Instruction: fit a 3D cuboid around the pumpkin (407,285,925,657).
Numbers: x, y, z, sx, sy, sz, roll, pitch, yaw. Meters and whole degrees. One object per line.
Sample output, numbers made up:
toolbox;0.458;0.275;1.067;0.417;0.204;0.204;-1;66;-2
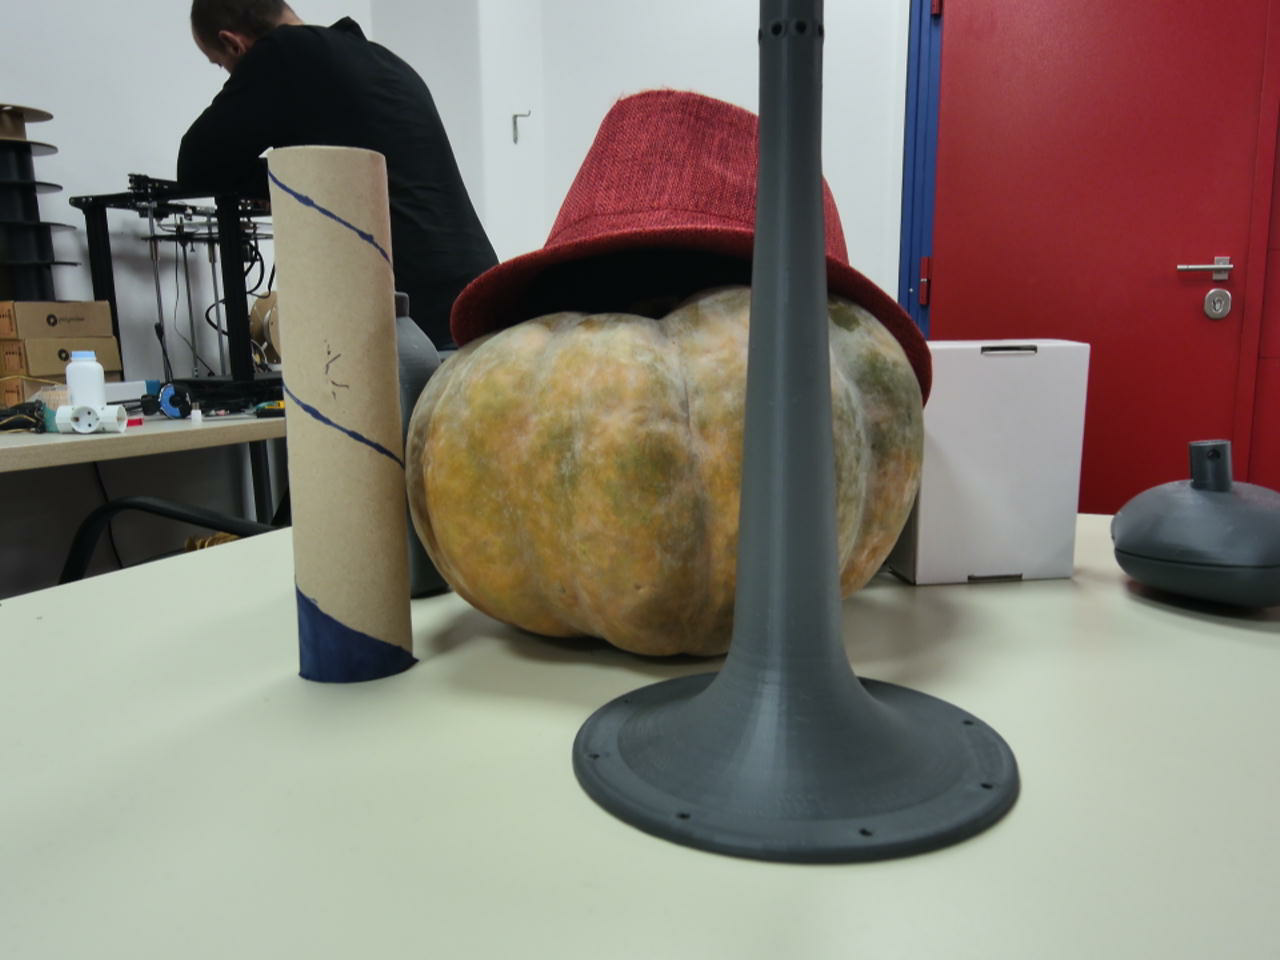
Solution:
pumpkin;0.007;-0.009;0.495;0.252;0.168;0.252;0;6;0
